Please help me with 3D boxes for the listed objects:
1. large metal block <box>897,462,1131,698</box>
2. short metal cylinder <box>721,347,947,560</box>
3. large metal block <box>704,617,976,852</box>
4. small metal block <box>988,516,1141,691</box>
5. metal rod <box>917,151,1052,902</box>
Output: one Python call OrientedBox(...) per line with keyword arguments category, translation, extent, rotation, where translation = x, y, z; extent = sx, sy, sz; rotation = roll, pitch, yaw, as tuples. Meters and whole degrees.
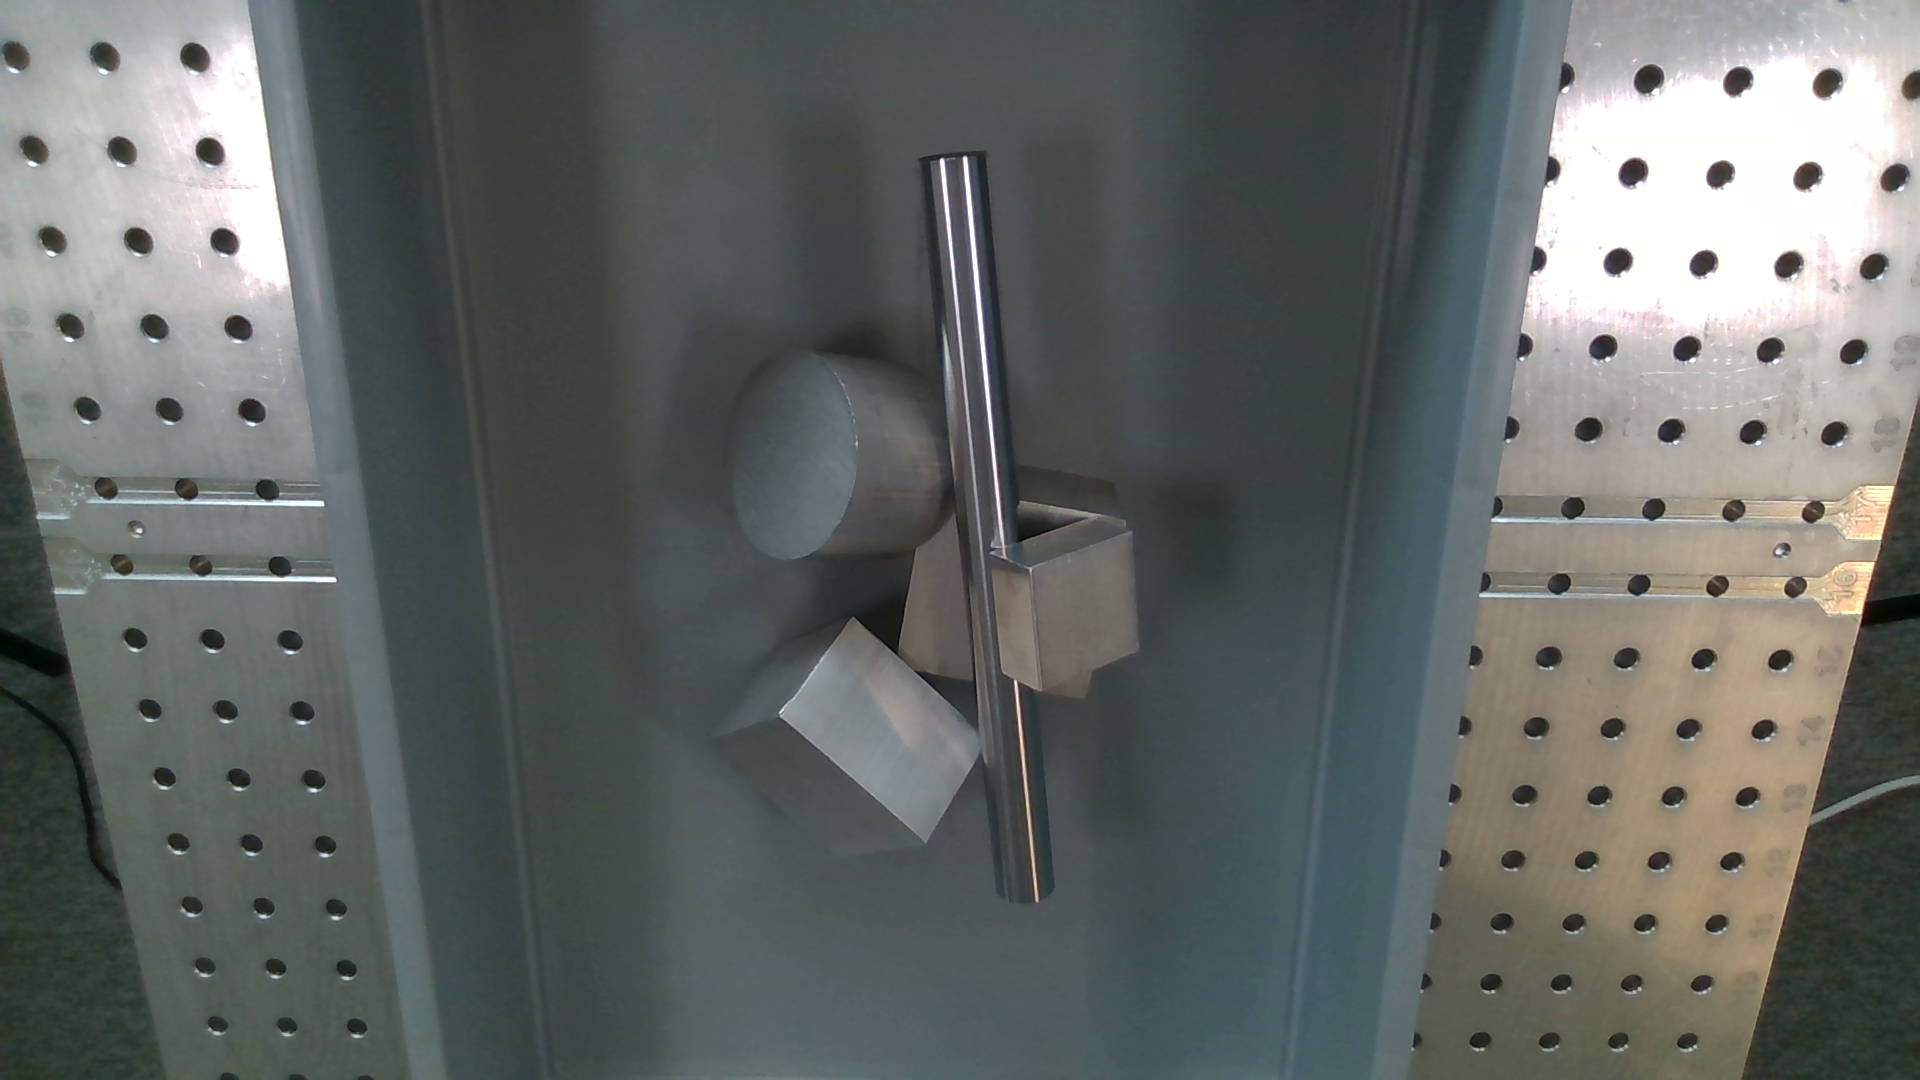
OrientedBox(category="large metal block", translation=(0.020, 0.013, 0.575), extent=(0.080, 0.050, 0.080), rotation=(10, 110, -4))
OrientedBox(category="short metal cylinder", translation=(-0.049, -0.033, 0.536), extent=(0.050, 0.080, 0.080), rotation=(-1, 118, -46))
OrientedBox(category="large metal block", translation=(-0.049, 0.085, 0.579), extent=(0.080, 0.050, 0.080), rotation=(43, 148, -14))
OrientedBox(category="small metal block", translation=(0.041, 0.023, 0.526), extent=(0.050, 0.025, 0.050), rotation=(-19, 113, -30))
OrientedBox(category="metal rod", translation=(0.012, 0.006, 0.533), extent=(0.025, 0.025, 0.301), rotation=(-5, 110, 2))
